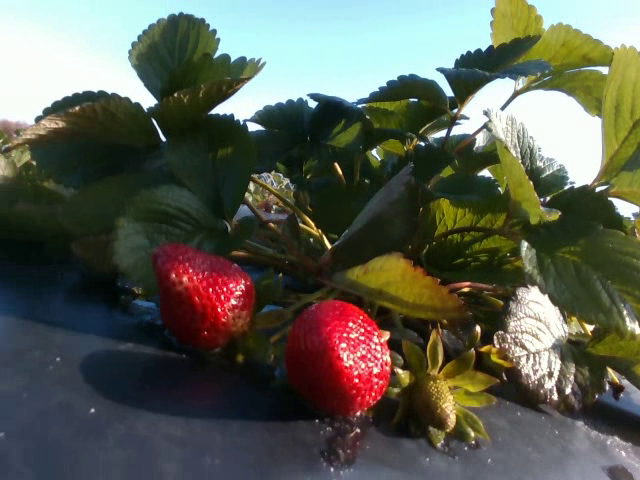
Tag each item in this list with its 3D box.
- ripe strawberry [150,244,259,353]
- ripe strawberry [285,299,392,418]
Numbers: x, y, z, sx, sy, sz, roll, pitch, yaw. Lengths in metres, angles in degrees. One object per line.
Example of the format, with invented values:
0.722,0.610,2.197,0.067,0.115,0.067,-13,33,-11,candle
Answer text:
-0.047,0.021,0.248,0.039,0.054,0.048,-36,30,21,ripe strawberry
0.008,0.036,0.207,0.043,0.039,0.053,34,-9,6,ripe strawberry
